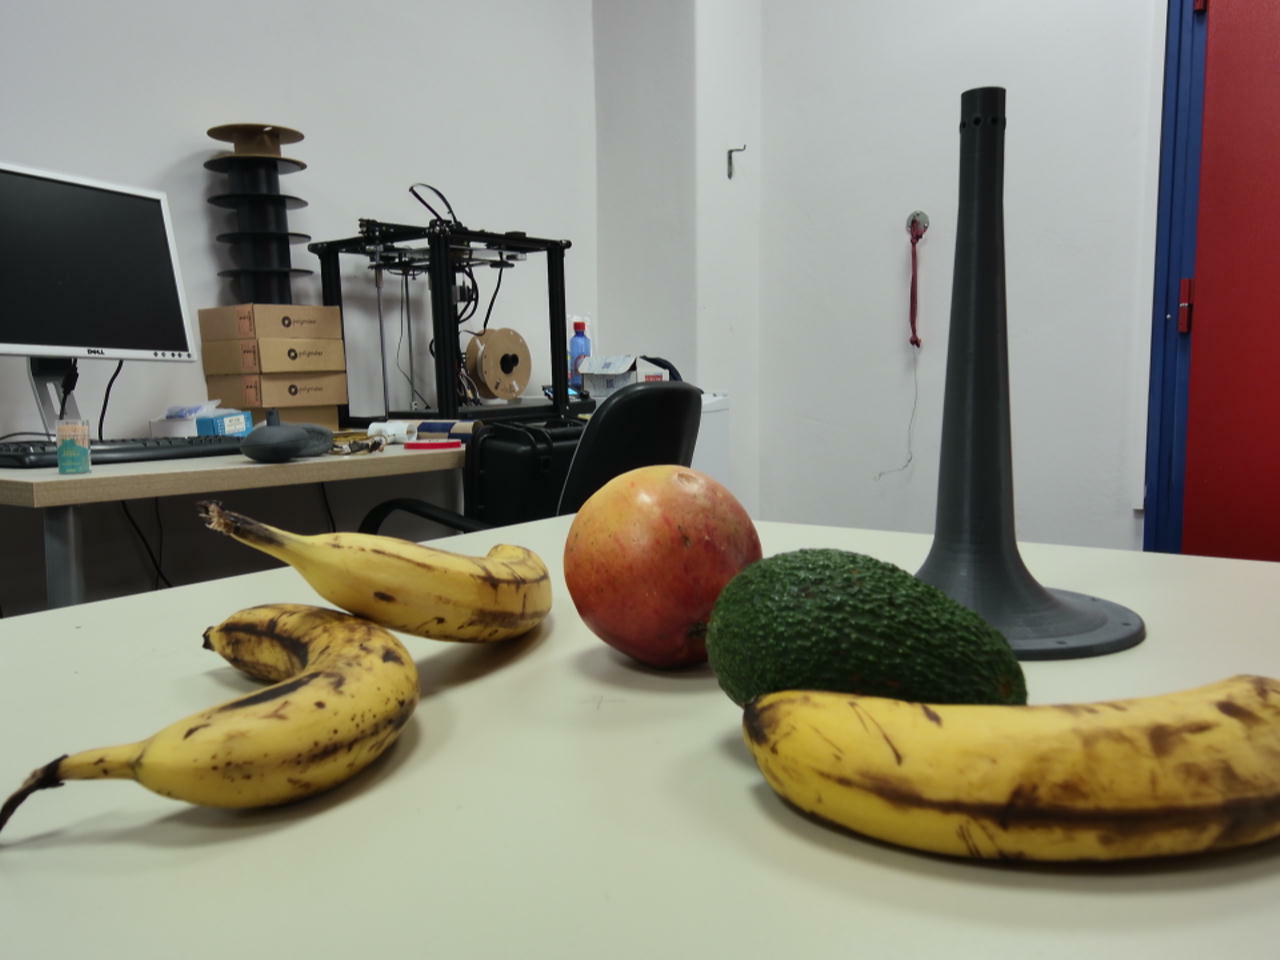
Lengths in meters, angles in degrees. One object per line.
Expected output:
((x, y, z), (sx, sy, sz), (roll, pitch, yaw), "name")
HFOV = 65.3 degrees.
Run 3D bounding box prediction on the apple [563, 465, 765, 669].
((0.011, 0.037, 0.440), (0.086, 0.084, 0.093), (0, 3, 1), "apple")
